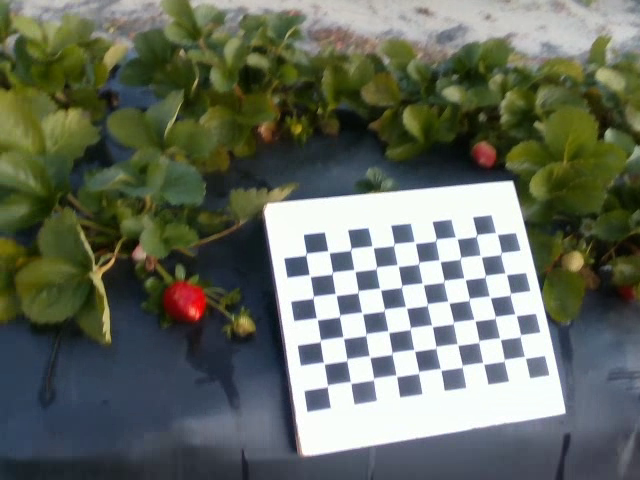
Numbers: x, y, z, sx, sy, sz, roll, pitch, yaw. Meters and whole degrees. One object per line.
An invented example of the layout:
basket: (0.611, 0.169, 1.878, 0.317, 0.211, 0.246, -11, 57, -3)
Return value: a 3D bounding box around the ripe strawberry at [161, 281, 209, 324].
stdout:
ripe strawberry: (-0.130, 0.068, 0.621, 0.043, 0.052, 0.057, -34, 21, -14)
